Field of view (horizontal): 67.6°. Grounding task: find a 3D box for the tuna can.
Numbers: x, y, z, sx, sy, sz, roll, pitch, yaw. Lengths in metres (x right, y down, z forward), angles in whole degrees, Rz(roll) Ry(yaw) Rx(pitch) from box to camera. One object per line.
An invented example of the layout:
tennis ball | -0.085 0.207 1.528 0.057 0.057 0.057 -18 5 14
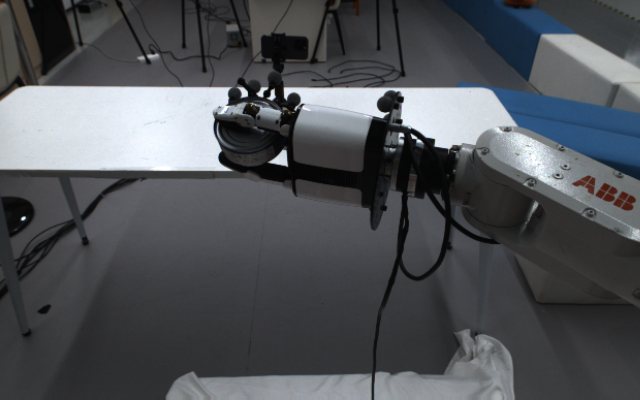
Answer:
tuna can | -0.085 -0.085 0.593 0.085 0.034 0.085 -2 57 4
